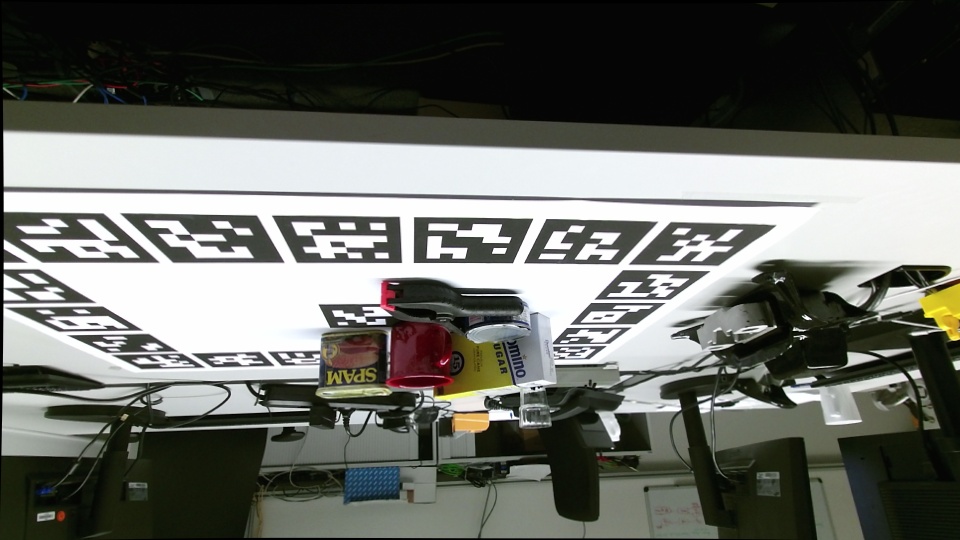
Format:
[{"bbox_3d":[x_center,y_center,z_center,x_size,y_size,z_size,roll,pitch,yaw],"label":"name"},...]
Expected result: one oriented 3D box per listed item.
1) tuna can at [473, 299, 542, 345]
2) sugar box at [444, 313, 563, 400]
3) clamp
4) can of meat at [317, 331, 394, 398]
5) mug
[{"bbox_3d":[0.034,0.066,0.680,0.086,0.033,0.086,-3,154,-1],"label":"tuna can"},{"bbox_3d":[0.023,0.124,0.749,0.177,0.092,0.045,-16,154,28],"label":"sugar box"},{"bbox_3d":[-0.037,0.039,0.623,0.166,0.036,0.122,22,150,-35],"label":"clamp"},{"bbox_3d":[-0.173,0.134,0.760,0.102,0.083,0.058,-2,157,2],"label":"can of meat"},{"bbox_3d":[-0.067,0.120,0.723,0.094,0.081,0.117,12,150,-29],"label":"mug"}]
